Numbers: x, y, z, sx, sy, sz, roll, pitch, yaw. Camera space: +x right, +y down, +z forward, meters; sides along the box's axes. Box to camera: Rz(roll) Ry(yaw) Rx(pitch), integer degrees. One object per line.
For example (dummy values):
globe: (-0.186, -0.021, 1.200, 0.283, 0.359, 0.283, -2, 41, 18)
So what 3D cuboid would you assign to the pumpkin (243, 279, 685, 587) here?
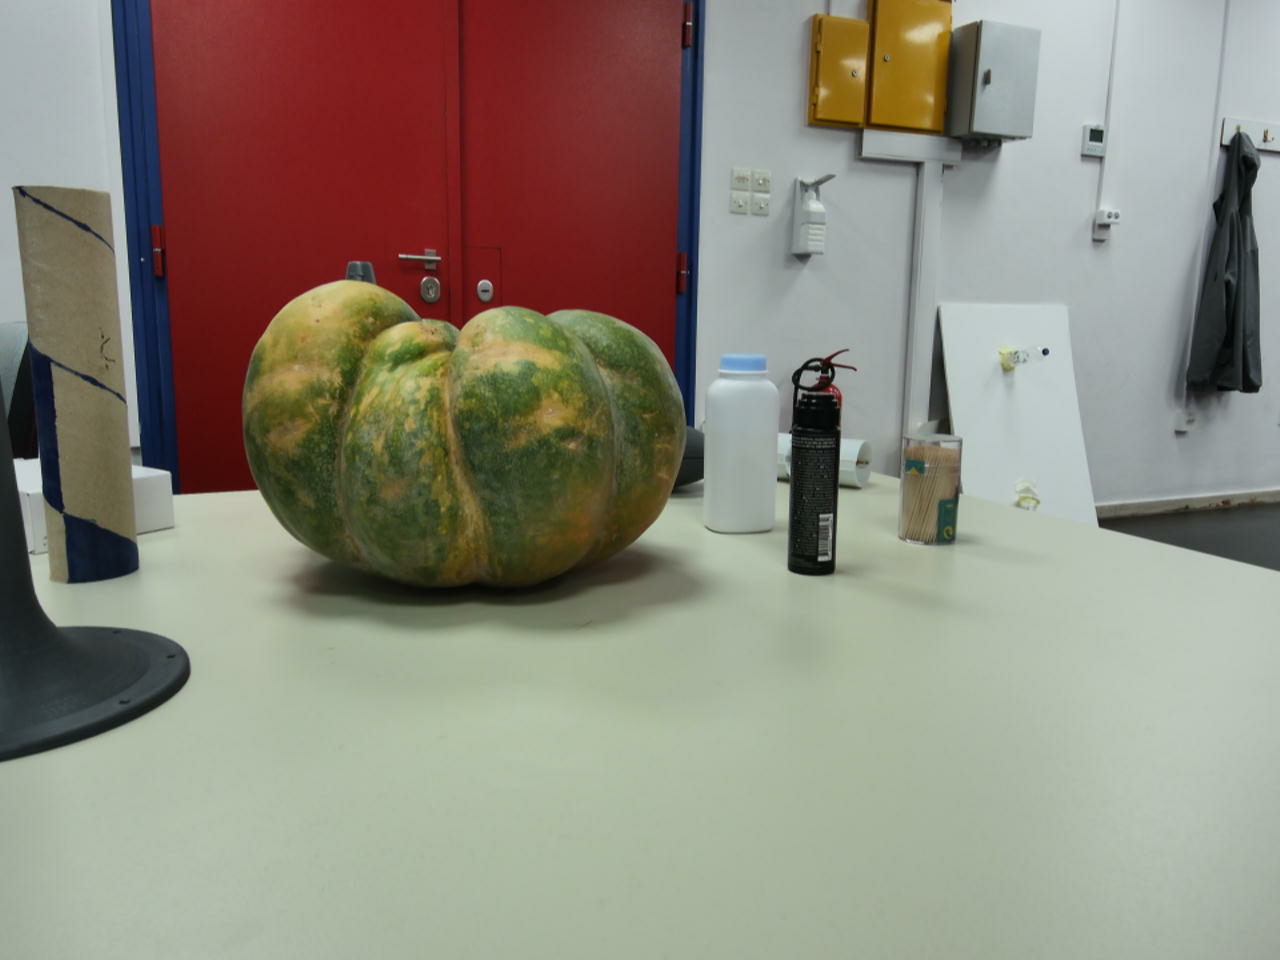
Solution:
pumpkin: (-0.105, -0.028, 0.603, 0.270, 0.173, 0.237, 2, 8, 13)
